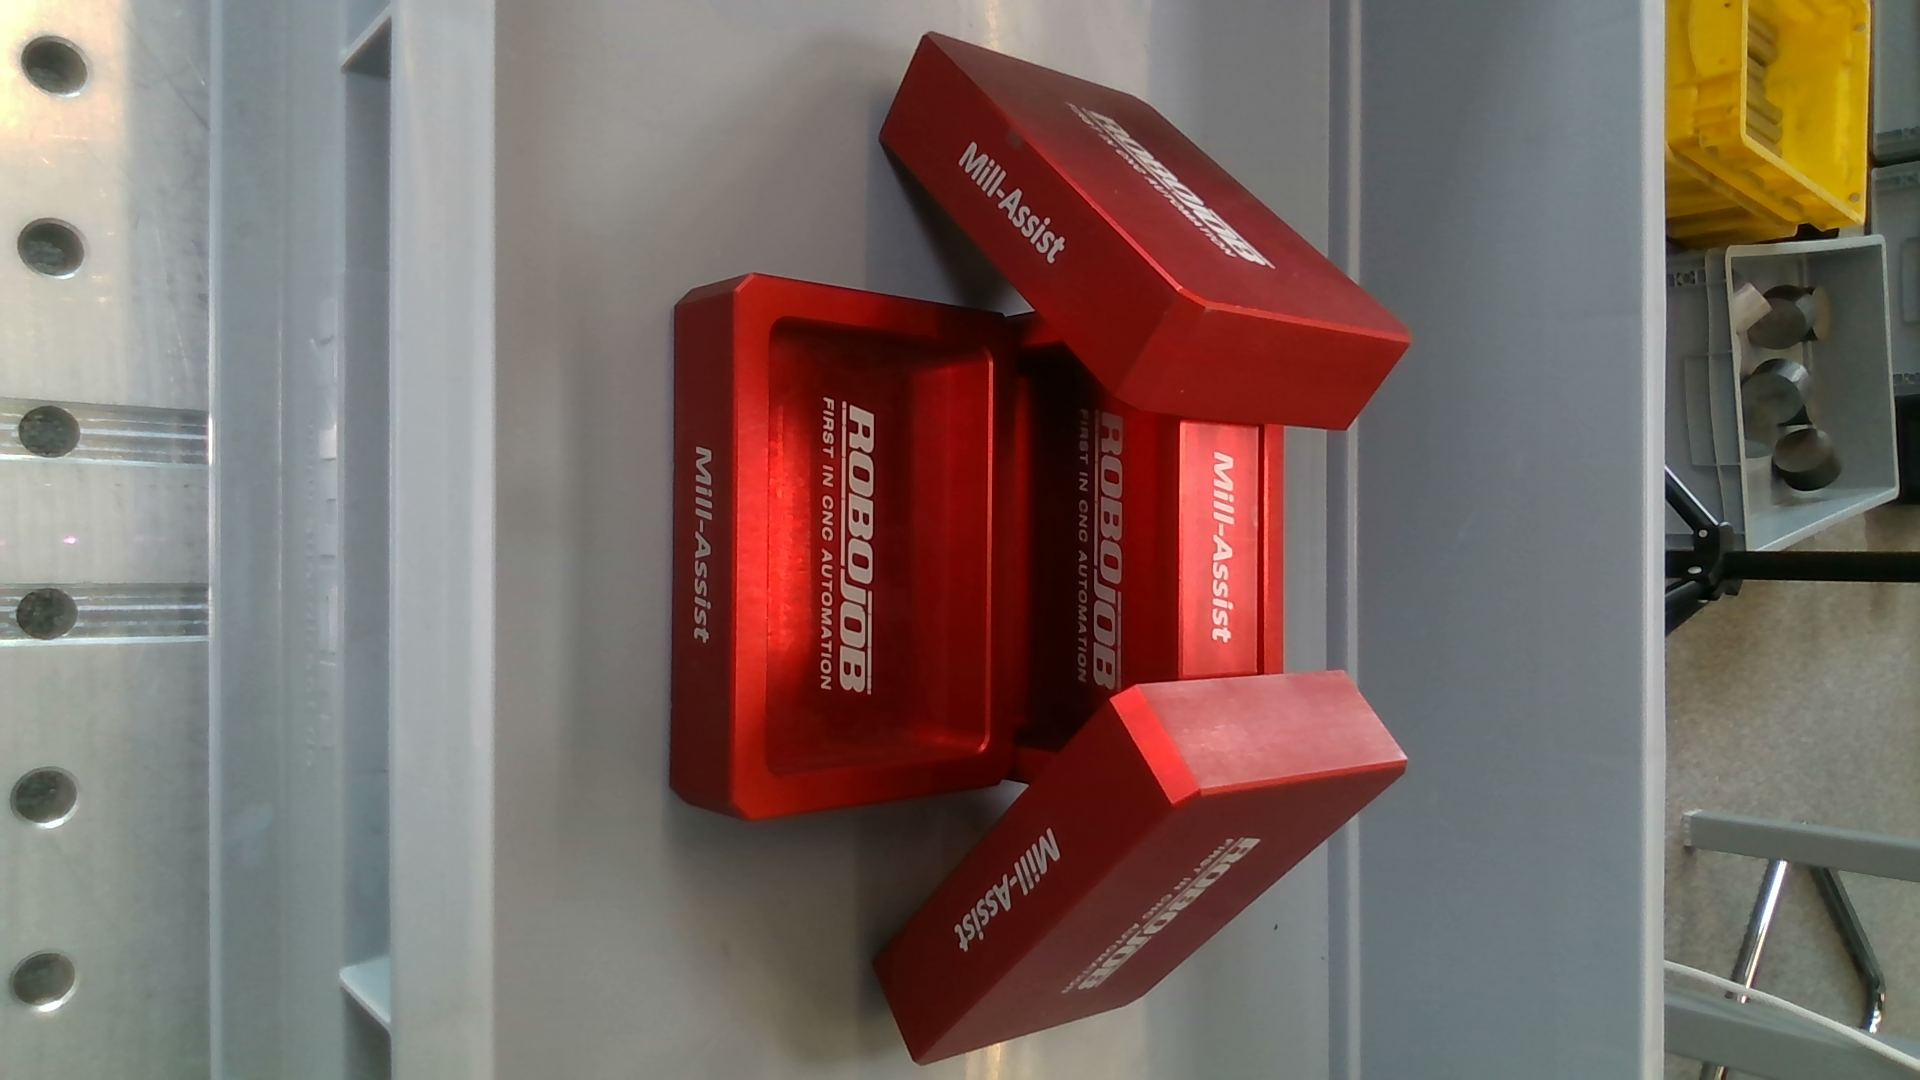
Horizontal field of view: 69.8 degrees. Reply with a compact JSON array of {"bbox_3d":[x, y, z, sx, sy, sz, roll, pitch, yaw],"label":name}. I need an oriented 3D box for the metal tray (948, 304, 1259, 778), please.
[{"bbox_3d":[0.037,0.000,0.378,0.030,0.090,0.130,0,91,-40],"label":"metal tray"}]

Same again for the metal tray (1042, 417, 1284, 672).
[{"bbox_3d":[0.064,0.005,0.440,0.090,0.030,0.130,0,91,-40],"label":"metal tray"}]

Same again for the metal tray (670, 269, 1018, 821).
[{"bbox_3d":[-0.028,0.001,0.361,0.090,0.030,0.130,0,91,-40],"label":"metal tray"}]

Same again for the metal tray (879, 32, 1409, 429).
[{"bbox_3d":[0.047,-0.084,0.369,0.090,0.130,0.030,0,131,-41],"label":"metal tray"}]

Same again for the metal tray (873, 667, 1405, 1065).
[{"bbox_3d":[0.045,0.088,0.368,0.090,0.130,0.030,1,47,-40],"label":"metal tray"}]
